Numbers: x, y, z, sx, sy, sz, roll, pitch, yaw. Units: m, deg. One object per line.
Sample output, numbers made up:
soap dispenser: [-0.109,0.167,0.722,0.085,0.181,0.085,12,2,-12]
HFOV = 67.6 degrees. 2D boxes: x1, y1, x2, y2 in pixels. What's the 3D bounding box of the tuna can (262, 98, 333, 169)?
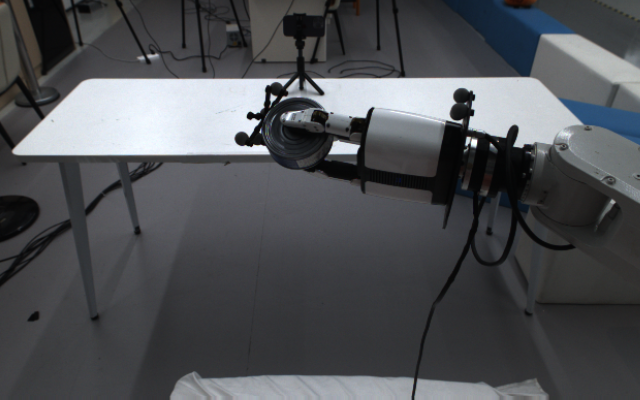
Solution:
tuna can: [-0.024,-0.080,0.594,0.085,0.034,0.085,-2,72,5]
